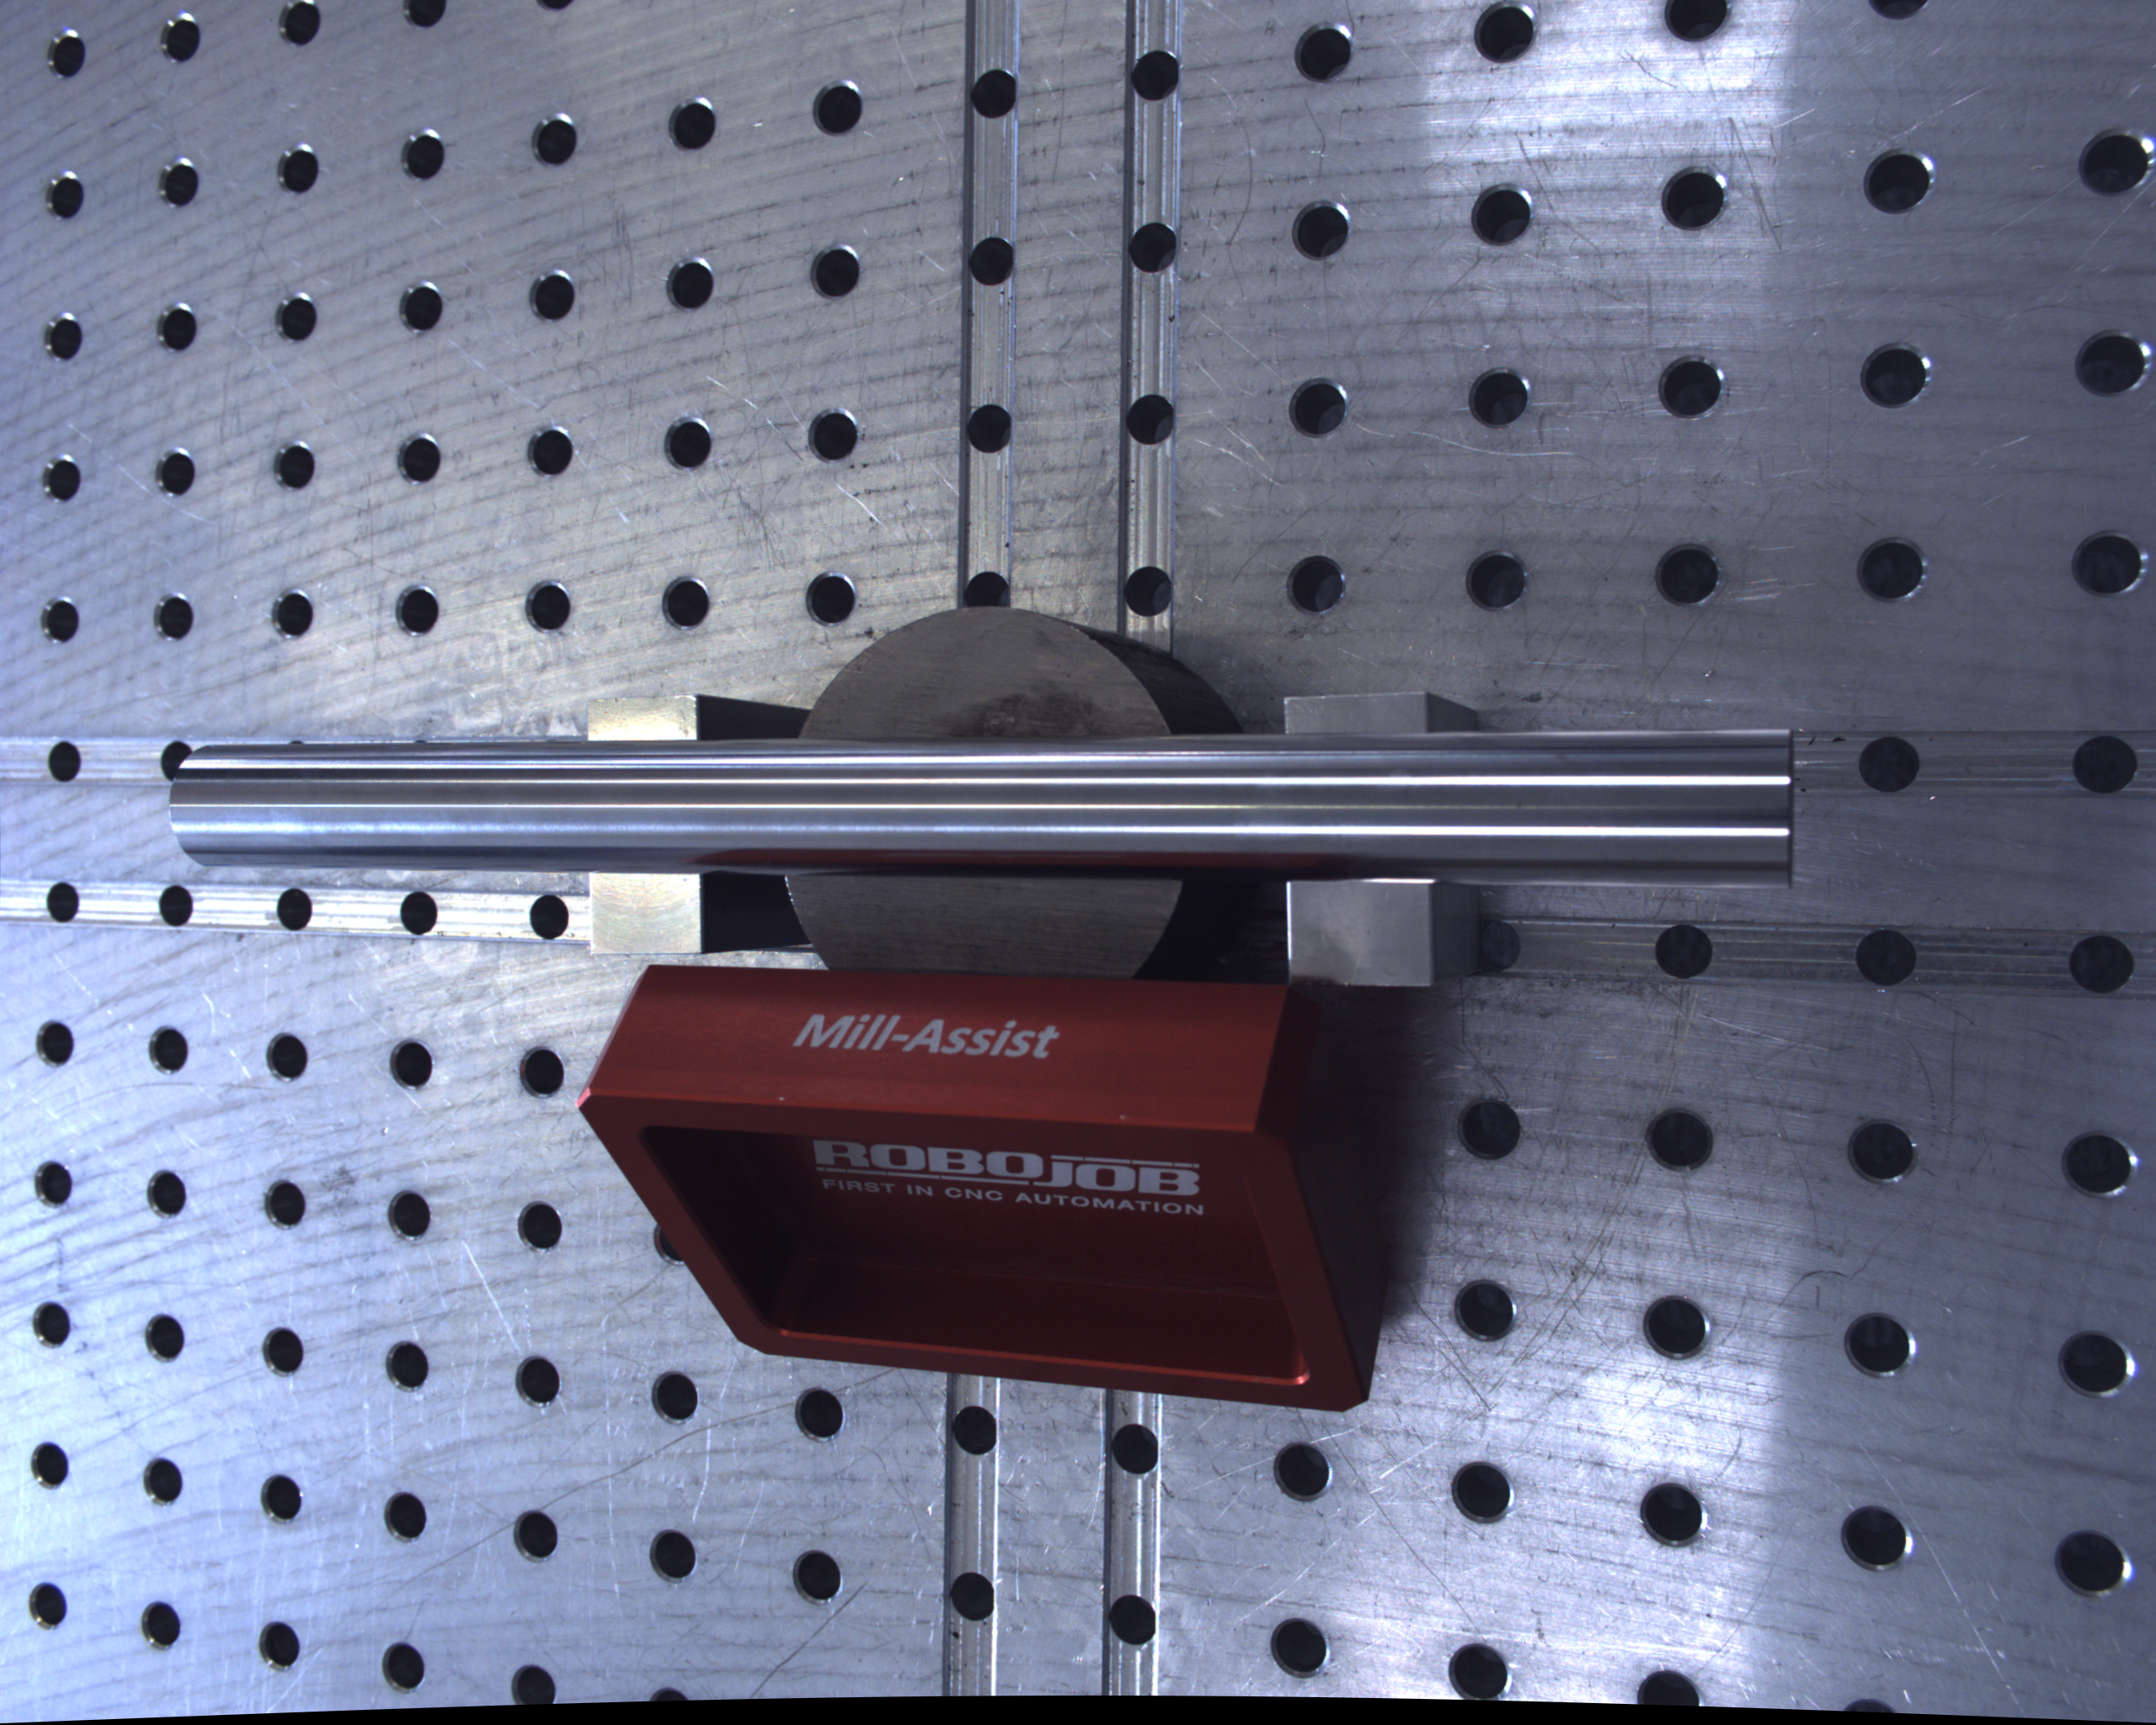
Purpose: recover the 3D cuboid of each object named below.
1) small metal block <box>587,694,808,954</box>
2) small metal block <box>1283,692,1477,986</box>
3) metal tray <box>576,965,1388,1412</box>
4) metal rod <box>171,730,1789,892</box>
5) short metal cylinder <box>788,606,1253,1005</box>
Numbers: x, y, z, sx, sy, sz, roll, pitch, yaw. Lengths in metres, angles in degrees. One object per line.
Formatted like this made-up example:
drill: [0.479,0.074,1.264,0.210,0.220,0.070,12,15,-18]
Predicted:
small metal block: [-0.075,-0.007,0.426,0.025,0.050,0.050,-1,90,20]
small metal block: [0.056,-0.004,0.380,0.025,0.050,0.050,-1,90,20]
metal tray: [-0.015,0.060,0.385,0.130,0.090,0.030,1,47,20]
metal rod: [-0.033,-0.010,0.371,0.301,0.025,0.025,1,90,20]
short metal cylinder: [-0.010,-0.007,0.402,0.080,0.050,0.080,0,90,20]
